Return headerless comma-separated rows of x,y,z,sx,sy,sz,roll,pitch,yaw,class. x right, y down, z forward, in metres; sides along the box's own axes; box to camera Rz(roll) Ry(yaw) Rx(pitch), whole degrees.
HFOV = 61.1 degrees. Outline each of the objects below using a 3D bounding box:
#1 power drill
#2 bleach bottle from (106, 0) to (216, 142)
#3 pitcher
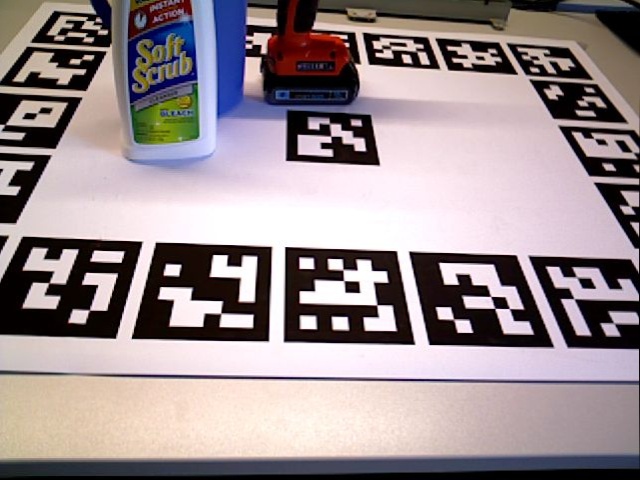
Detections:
0.026,-0.266,0.582,0.182,0.192,0.056,2,49,-13,power drill
-0.143,-0.207,0.465,0.101,0.257,0.067,-4,47,-10,bleach bottle
-0.139,-0.265,0.549,0.185,0.248,0.132,-19,53,-23,pitcher
